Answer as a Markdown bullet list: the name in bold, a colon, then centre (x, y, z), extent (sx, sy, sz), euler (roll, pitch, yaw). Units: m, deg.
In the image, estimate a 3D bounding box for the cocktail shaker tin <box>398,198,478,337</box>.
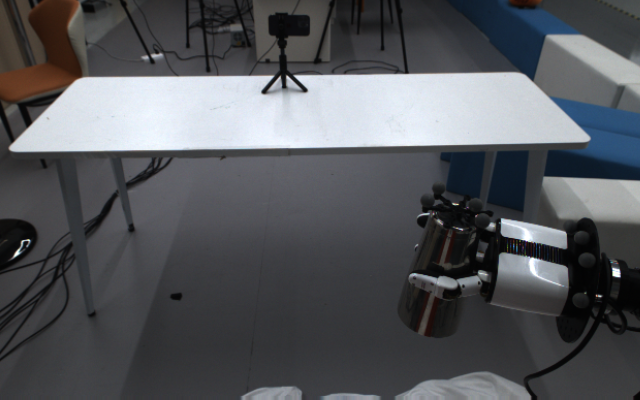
- **cocktail shaker tin**: centre (0.165, 0.090, 0.653), extent (0.093, 0.170, 0.093), euler (4, 32, -2)
